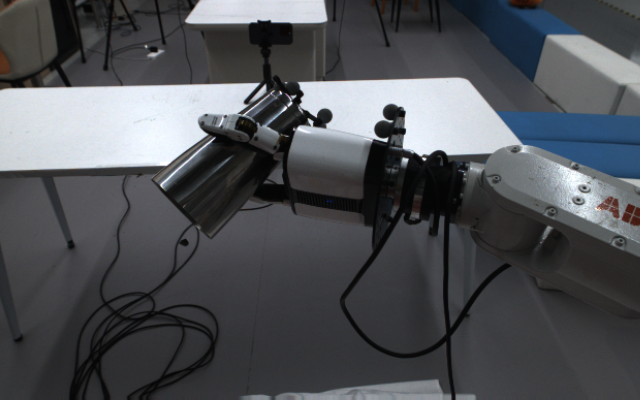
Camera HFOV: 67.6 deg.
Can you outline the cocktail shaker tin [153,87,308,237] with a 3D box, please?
[{"bbox_3d":[-0.093,-0.051,0.550,0.170,0.093,0.093,-43,50,-14],"label":"cocktail shaker tin"}]
